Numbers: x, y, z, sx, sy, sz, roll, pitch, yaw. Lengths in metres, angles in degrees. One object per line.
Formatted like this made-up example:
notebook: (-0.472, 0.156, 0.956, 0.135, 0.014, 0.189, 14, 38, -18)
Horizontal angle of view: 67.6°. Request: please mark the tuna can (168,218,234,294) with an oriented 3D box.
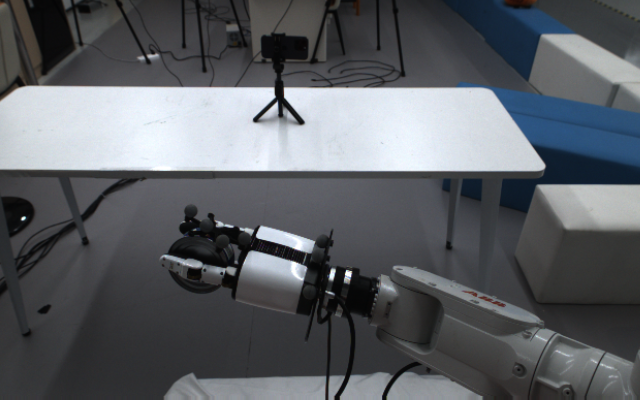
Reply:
tuna can: (-0.159, 0.082, 0.658, 0.085, 0.085, 0.034, 7, 17, 6)
